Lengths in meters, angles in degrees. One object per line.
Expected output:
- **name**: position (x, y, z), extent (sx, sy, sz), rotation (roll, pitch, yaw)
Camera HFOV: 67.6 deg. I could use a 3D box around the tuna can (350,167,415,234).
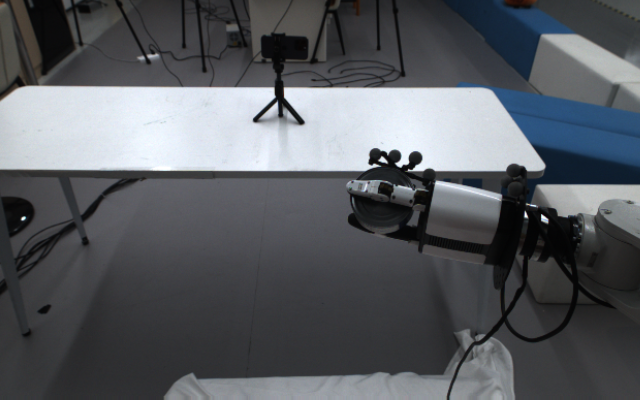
- **tuna can**: position (0.085, -0.004, 0.645), extent (0.085, 0.034, 0.085), rotation (-4, 66, 10)
